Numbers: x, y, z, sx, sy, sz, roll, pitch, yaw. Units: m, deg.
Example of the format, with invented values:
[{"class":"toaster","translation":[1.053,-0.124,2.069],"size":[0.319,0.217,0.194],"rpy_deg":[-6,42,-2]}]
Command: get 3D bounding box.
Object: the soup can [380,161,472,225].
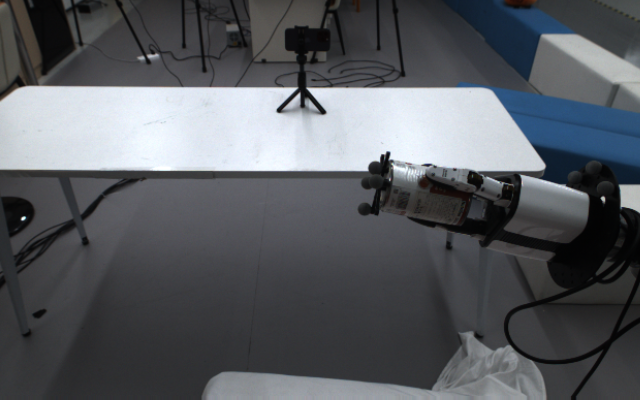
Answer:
[{"class":"soup can","translation":[0.131,-0.010,0.605],"size":[0.101,0.067,0.067],"rpy_deg":[10,35,-2]}]
